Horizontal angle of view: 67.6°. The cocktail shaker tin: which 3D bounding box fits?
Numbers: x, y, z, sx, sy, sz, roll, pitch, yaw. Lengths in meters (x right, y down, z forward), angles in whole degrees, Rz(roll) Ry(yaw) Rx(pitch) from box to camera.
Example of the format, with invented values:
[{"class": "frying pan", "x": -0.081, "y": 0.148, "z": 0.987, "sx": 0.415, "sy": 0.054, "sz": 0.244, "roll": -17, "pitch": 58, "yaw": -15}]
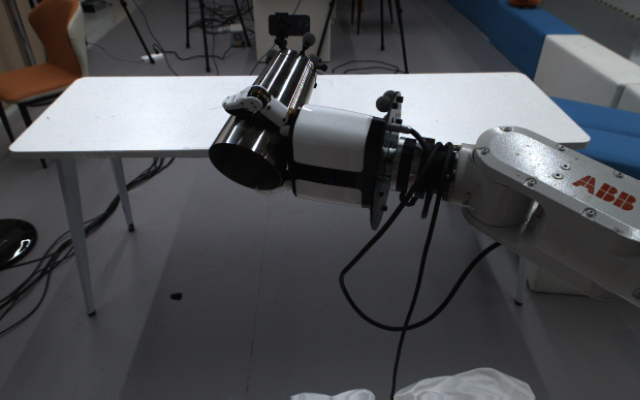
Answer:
[{"class": "cocktail shaker tin", "x": -0.063, "y": -0.108, "z": 0.606, "sx": 0.093, "sy": 0.093, "sz": 0.170, "roll": 13, "pitch": 60, "yaw": 15}]
